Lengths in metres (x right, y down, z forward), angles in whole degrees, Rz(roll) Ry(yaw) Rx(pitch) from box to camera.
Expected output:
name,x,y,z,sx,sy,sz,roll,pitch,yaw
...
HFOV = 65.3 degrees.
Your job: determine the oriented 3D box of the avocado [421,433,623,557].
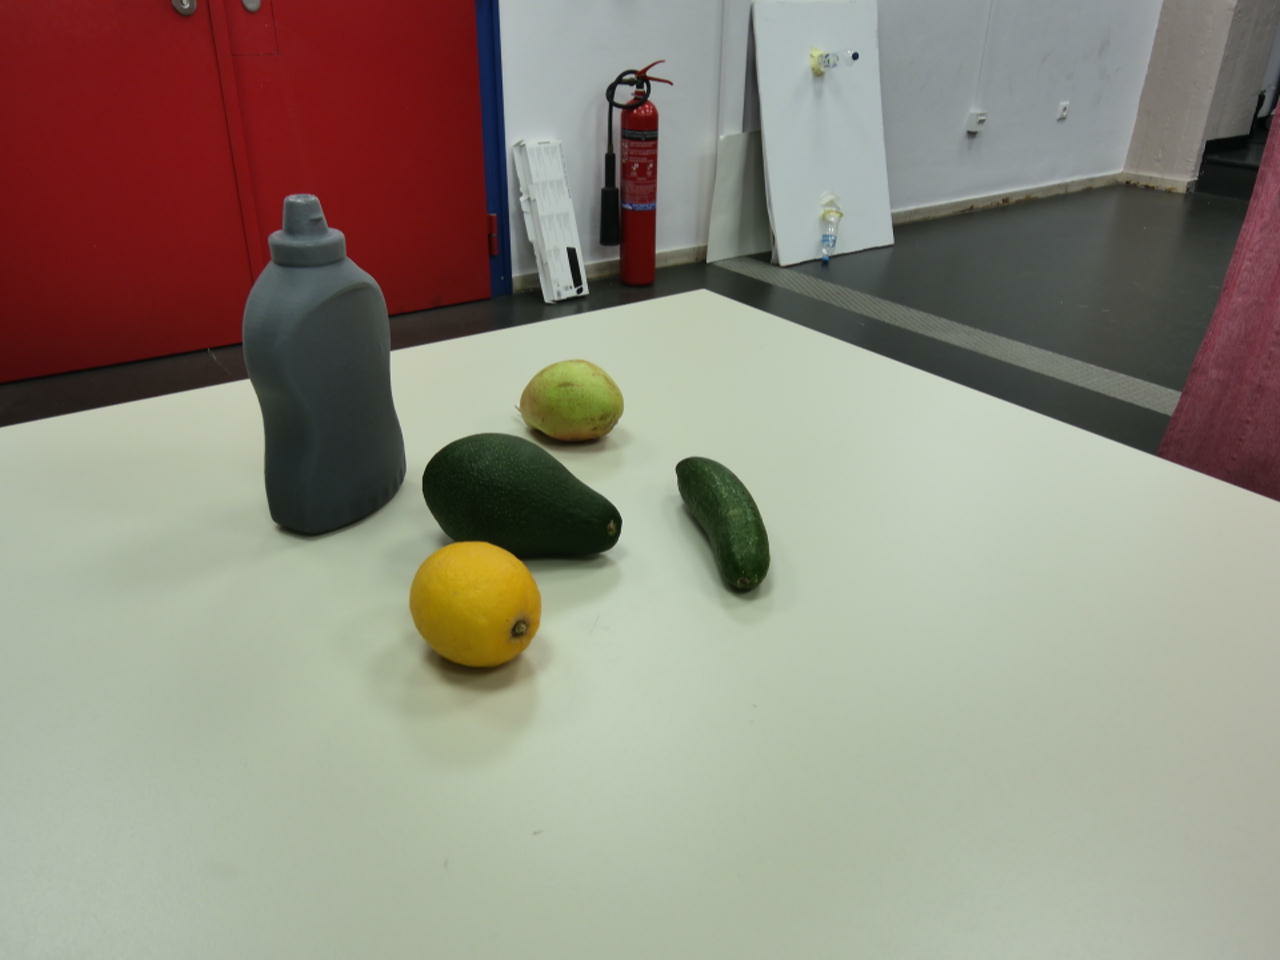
name,x,y,z,sx,sy,sz,roll,pitch,yaw
avocado,-0.071,0.010,0.574,0.110,0.071,0.072,14,29,27
